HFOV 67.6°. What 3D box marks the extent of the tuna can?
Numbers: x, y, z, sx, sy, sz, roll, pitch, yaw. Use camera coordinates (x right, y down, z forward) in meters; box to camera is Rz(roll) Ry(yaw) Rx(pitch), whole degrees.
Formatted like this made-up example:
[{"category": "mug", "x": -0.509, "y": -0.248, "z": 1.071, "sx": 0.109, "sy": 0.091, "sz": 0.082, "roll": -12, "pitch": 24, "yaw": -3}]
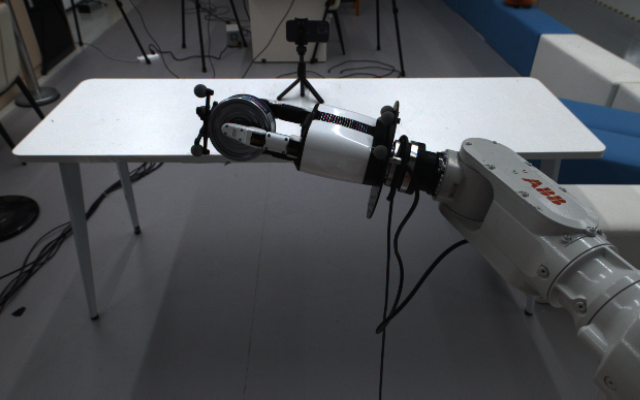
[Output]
[{"category": "tuna can", "x": -0.102, "y": -0.096, "z": 0.642, "sx": 0.085, "sy": 0.085, "sz": 0.034, "roll": 4, "pitch": 18, "yaw": 3}]
